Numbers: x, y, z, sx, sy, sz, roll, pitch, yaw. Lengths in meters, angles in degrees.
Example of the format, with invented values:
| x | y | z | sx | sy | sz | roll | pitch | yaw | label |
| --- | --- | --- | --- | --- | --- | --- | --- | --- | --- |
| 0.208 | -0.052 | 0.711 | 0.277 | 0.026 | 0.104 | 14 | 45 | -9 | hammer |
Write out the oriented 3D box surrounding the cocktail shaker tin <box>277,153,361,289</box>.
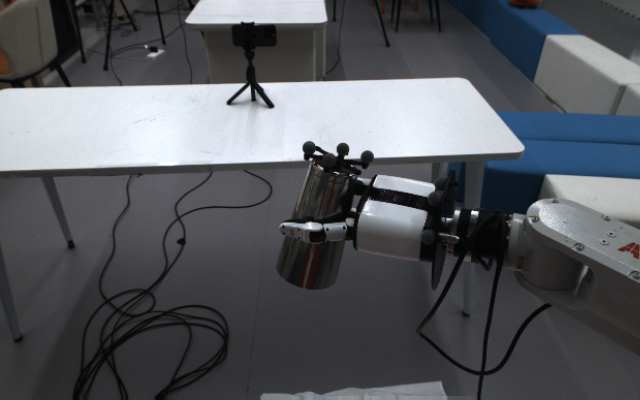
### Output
| x | y | z | sx | sy | sz | roll | pitch | yaw | label |
| --- | --- | --- | --- | --- | --- | --- | --- | --- | --- |
| 0.002 | 0.028 | 0.677 | 0.093 | 0.170 | 0.093 | 12 | 24 | -5 | cocktail shaker tin |
